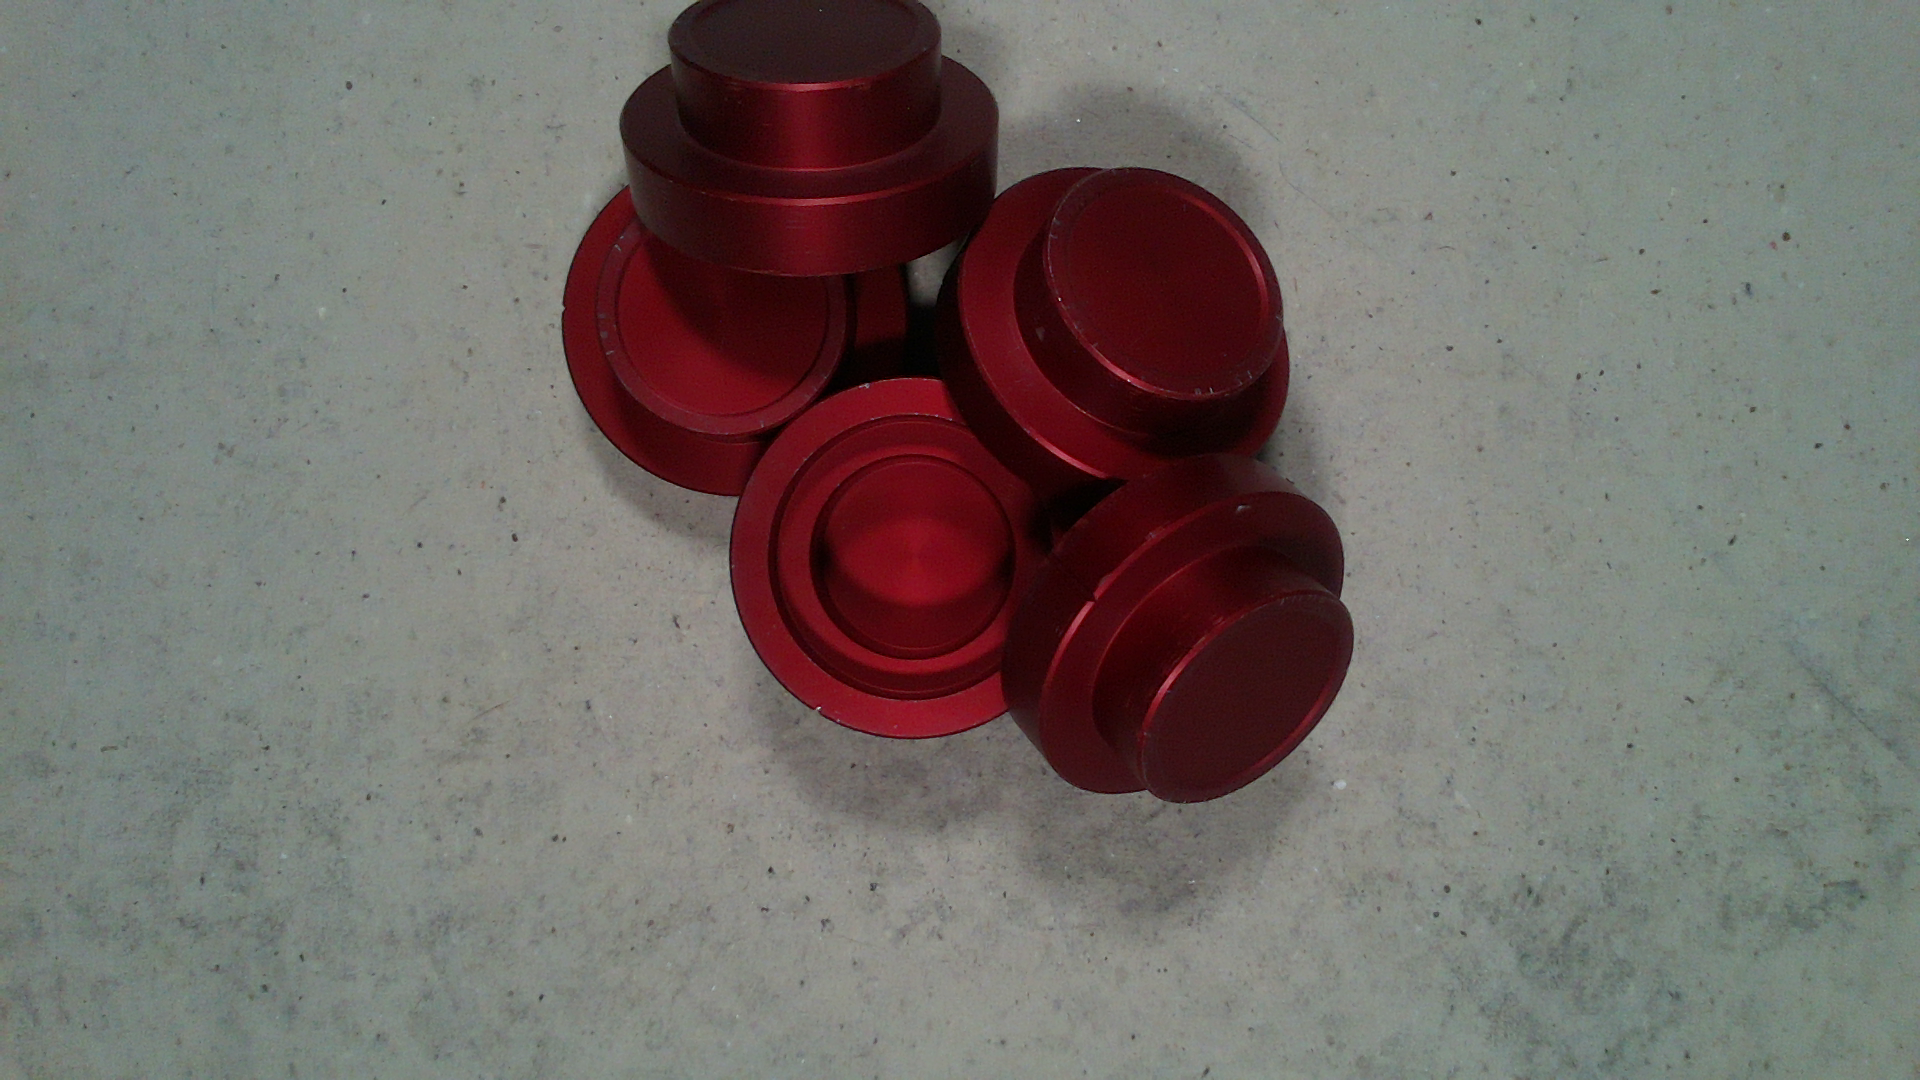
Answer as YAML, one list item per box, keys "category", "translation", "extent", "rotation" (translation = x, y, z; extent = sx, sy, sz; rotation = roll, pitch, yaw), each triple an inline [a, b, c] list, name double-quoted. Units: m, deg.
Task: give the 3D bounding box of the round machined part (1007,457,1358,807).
- category: "round machined part"
  translation: [0.064, 0.031, 0.360]
  extent: [0.098, 0.098, 0.042]
  rotation: [-43, 49, 0]

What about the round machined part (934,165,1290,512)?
- category: "round machined part"
  translation: [0.046, -0.059, 0.365]
  extent: [0.098, 0.042, 0.098]
  rotation: [9, 65, -19]

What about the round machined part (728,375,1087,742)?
- category: "round machined part"
  translation: [-0.013, 0.005, 0.387]
  extent: [0.098, 0.042, 0.098]
  rotation: [0, 90, 0]

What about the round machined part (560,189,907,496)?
- category: "round machined part"
  translation: [-0.064, -0.061, 0.388]
  extent: [0.098, 0.042, 0.098]
  rotation: [0, 90, 0]

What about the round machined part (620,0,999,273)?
- category: "round machined part"
  translation: [-0.039, -0.113, 0.357]
  extent: [0.098, 0.098, 0.042]
  rotation: [1, 132, 0]
